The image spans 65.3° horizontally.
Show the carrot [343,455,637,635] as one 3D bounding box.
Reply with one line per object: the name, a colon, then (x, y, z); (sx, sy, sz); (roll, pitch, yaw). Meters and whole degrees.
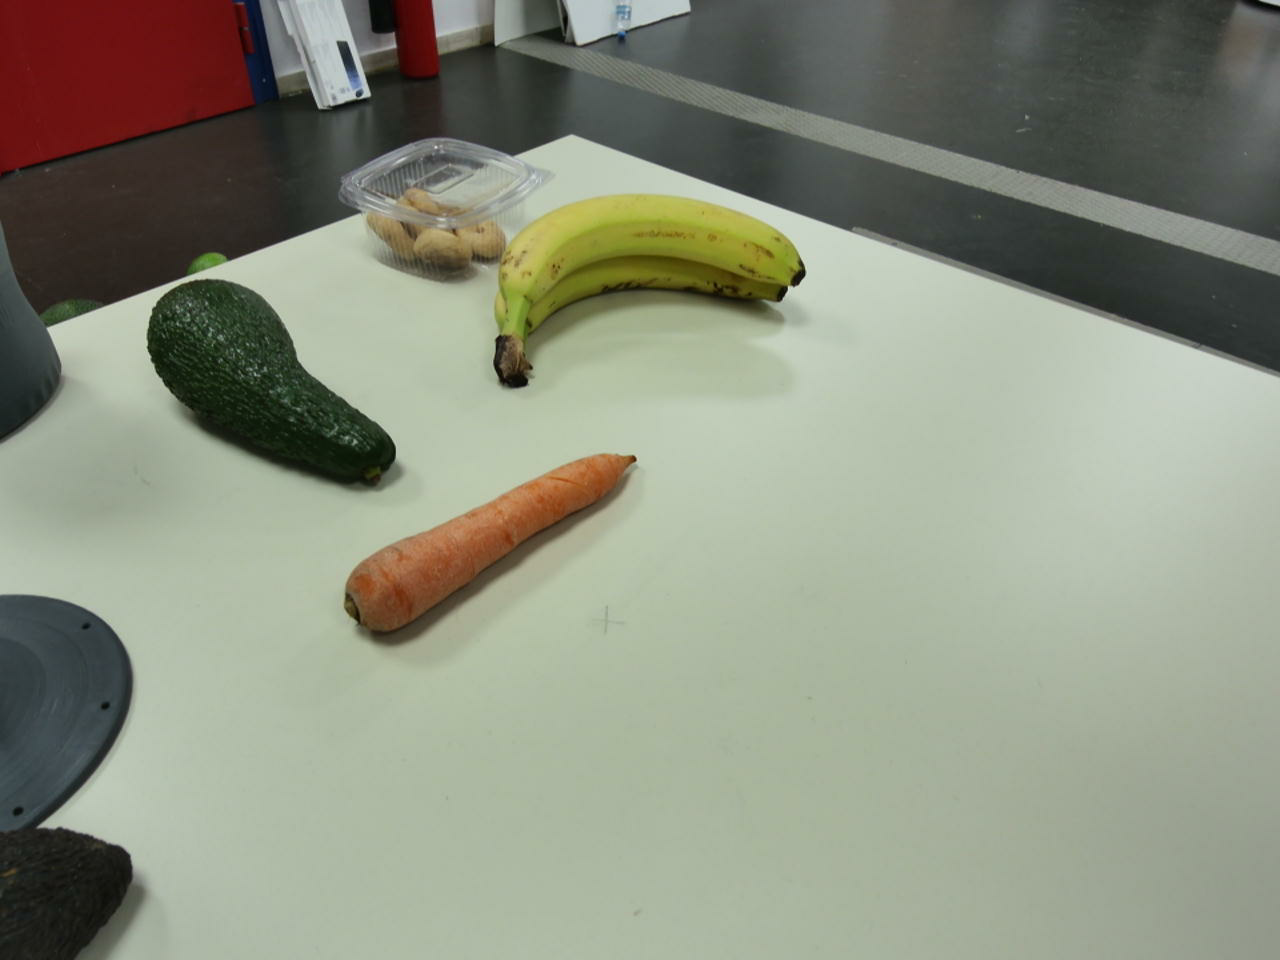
carrot: (-0.071, 0.020, 0.529); (0.039, 0.041, 0.196); (28, 45, 31)
